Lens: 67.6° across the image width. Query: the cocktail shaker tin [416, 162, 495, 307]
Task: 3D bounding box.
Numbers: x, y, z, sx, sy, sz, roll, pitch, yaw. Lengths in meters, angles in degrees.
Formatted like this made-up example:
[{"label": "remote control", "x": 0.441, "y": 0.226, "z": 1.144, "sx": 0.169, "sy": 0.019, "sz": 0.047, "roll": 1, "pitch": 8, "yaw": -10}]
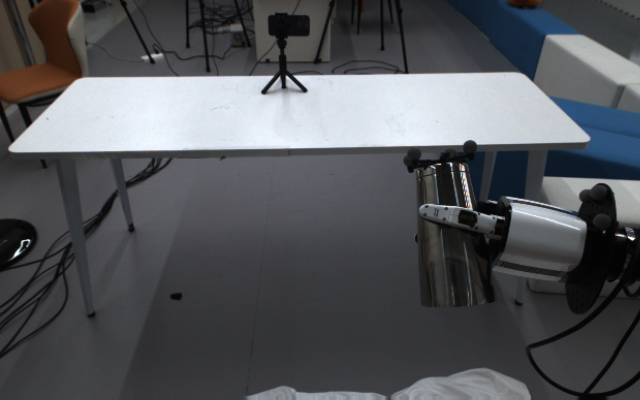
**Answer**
[{"label": "cocktail shaker tin", "x": 0.165, "y": 0.043, "z": 0.610, "sx": 0.093, "sy": 0.170, "sz": 0.093, "roll": -6, "pitch": -7, "yaw": -1}]
